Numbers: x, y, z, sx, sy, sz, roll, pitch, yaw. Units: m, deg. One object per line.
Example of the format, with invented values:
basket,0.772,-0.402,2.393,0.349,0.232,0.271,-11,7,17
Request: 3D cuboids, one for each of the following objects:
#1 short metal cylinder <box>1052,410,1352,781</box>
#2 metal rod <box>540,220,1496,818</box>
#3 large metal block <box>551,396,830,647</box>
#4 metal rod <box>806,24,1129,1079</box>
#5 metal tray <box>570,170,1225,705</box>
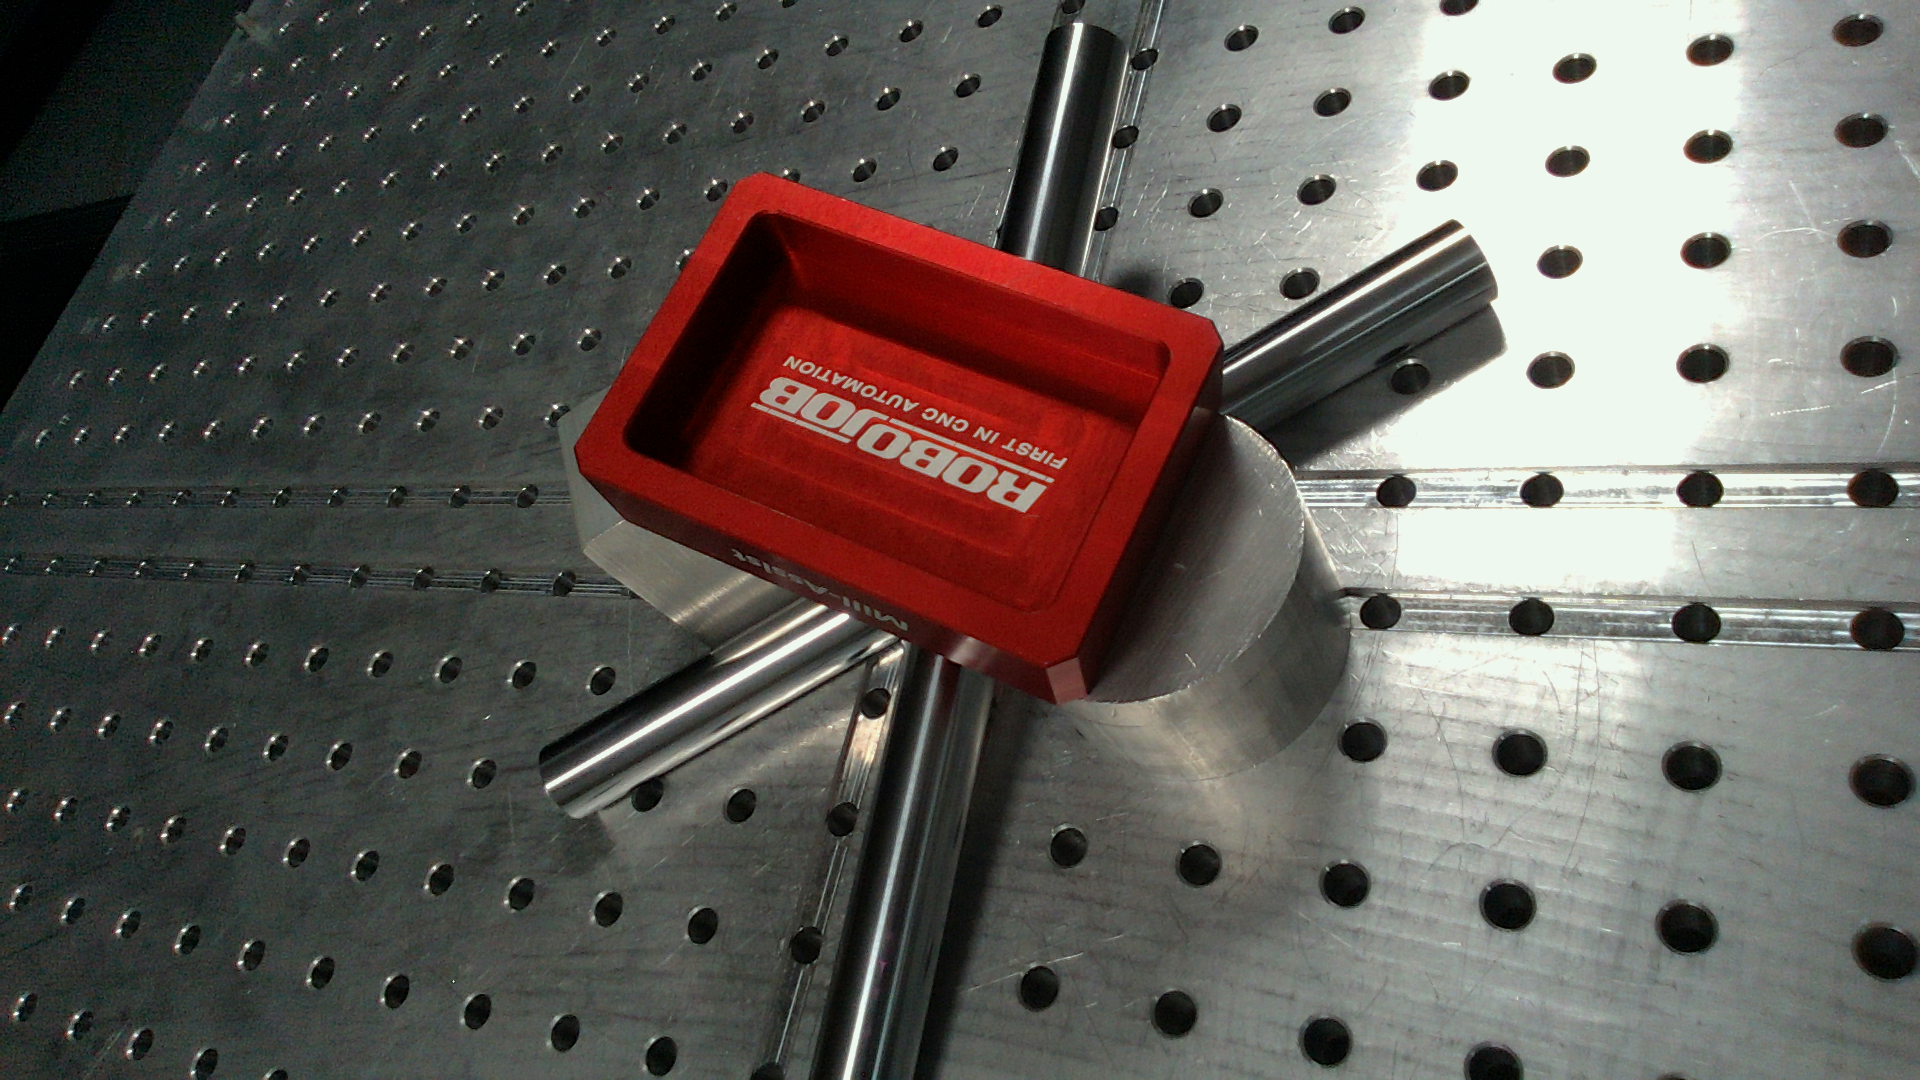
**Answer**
short metal cylinder,0.052,0.013,0.343,0.080,0.050,0.080,-14,56,21
metal rod,0.009,-0.001,0.393,0.300,0.025,0.025,-30,52,9
large metal block,-0.058,-0.017,0.402,0.080,0.080,0.050,-30,52,9
metal rod,0.006,-0.002,0.366,0.025,0.025,0.300,4,72,30
metal tray,-0.014,-0.028,0.327,0.130,0.030,0.090,22,72,17
